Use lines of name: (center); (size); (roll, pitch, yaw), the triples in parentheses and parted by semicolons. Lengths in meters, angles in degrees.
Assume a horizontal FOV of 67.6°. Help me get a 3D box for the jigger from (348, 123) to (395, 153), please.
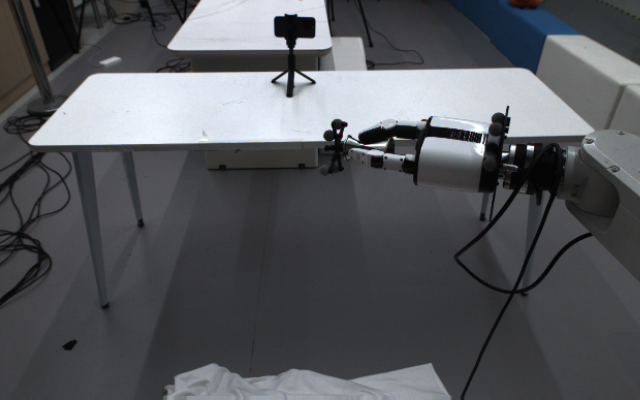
jigger: (0.079, -0.079, 0.724); (0.071, 0.043, 0.043); (8, 34, 23)
